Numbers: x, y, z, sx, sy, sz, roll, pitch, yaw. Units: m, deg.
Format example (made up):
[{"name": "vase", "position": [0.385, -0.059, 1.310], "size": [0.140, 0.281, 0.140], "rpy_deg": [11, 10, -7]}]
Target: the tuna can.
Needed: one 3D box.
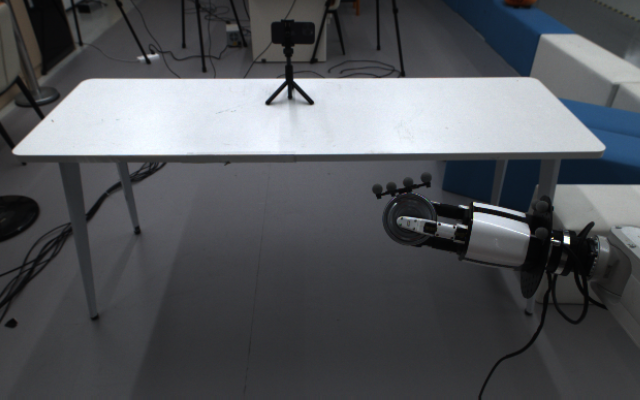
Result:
[{"name": "tuna can", "position": [0.145, 0.028, 0.774], "size": [0.085, 0.085, 0.034], "rpy_deg": [12, 3, 14]}]
